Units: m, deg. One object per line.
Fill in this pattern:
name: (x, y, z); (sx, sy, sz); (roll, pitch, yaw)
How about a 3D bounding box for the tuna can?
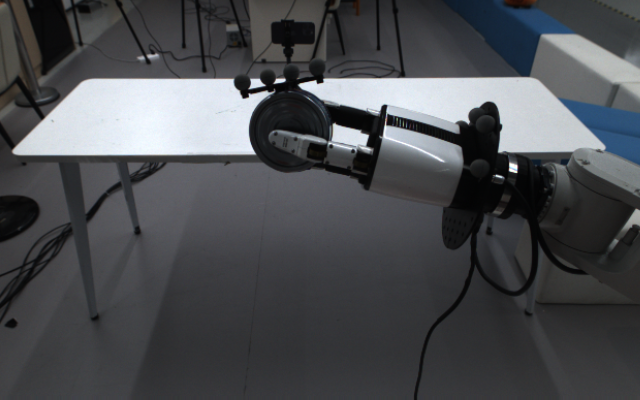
tuna can: (-0.026, -0.067, 0.508); (0.085, 0.085, 0.034); (6, 18, 5)
